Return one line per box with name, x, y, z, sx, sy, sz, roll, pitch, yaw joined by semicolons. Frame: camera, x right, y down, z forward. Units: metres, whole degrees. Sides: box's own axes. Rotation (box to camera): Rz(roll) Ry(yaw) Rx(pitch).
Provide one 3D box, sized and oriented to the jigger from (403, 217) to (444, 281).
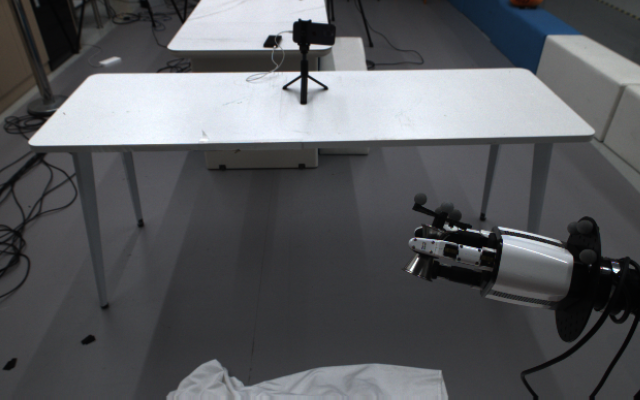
jigger;0.141;0.068;0.646;0.043;0.071;0.043;24;-3;1
